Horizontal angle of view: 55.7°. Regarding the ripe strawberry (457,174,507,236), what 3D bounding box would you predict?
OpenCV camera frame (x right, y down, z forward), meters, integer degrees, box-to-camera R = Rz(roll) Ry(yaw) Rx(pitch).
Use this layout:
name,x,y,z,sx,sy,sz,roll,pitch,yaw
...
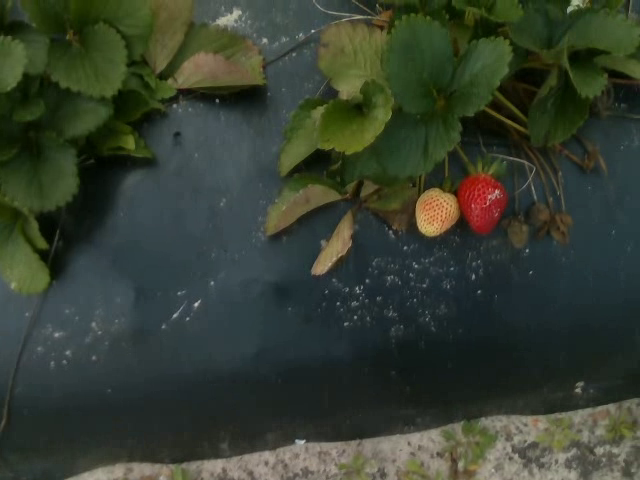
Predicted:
name,x,y,z,sx,sy,sz,roll,pitch,yaw
ripe strawberry,0.100,-0.021,0.370,0.034,0.041,0.033,23,-37,-12
